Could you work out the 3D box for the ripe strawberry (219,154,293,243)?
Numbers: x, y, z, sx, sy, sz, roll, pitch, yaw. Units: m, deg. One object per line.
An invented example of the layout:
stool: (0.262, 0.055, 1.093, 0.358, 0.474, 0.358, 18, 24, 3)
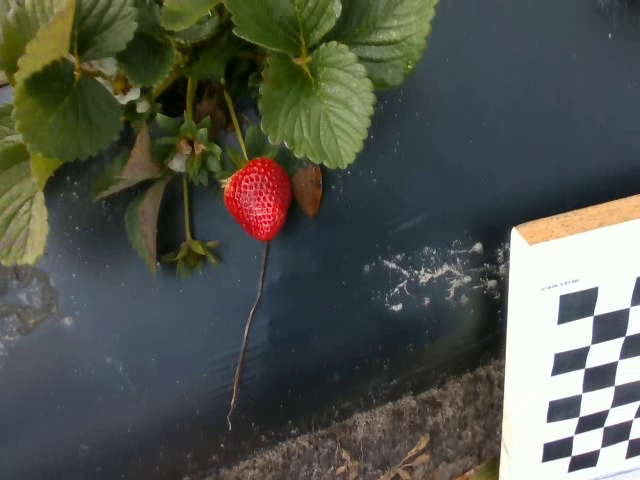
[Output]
ripe strawberry: (-0.038, -0.020, 0.356, 0.050, 0.053, 0.049, -21, -36, 0)
